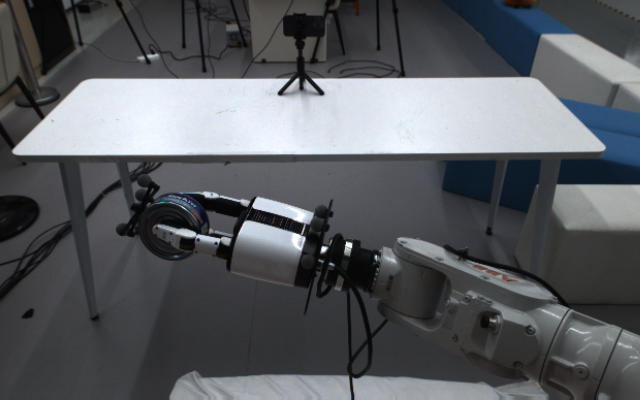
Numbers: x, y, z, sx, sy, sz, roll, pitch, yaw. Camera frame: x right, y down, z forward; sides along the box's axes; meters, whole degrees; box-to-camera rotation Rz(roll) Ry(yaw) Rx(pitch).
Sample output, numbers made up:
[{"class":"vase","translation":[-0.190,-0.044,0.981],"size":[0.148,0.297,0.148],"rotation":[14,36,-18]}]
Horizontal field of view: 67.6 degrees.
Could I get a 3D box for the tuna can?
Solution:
[{"class":"tuna can","translation":[-0.189,0.036,0.634],"size":[0.085,0.085,0.034],"rotation":[4,22,2]}]
